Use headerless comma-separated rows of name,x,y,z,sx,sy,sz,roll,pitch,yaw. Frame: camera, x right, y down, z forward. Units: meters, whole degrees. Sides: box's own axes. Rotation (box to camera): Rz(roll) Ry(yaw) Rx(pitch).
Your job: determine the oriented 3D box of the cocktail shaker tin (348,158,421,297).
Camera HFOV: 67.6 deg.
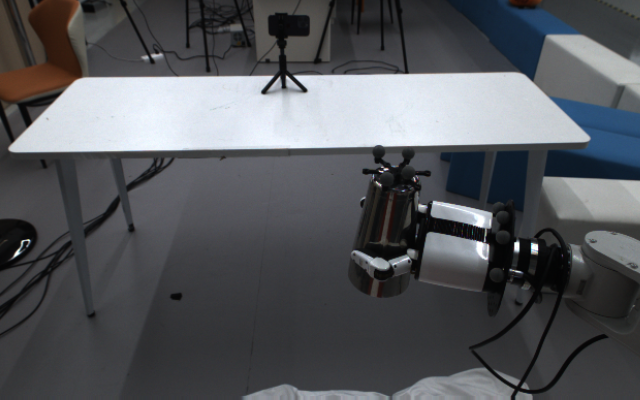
cocktail shaker tin,0.095,0.040,0.672,0.093,0.170,0.093,3,34,-2
